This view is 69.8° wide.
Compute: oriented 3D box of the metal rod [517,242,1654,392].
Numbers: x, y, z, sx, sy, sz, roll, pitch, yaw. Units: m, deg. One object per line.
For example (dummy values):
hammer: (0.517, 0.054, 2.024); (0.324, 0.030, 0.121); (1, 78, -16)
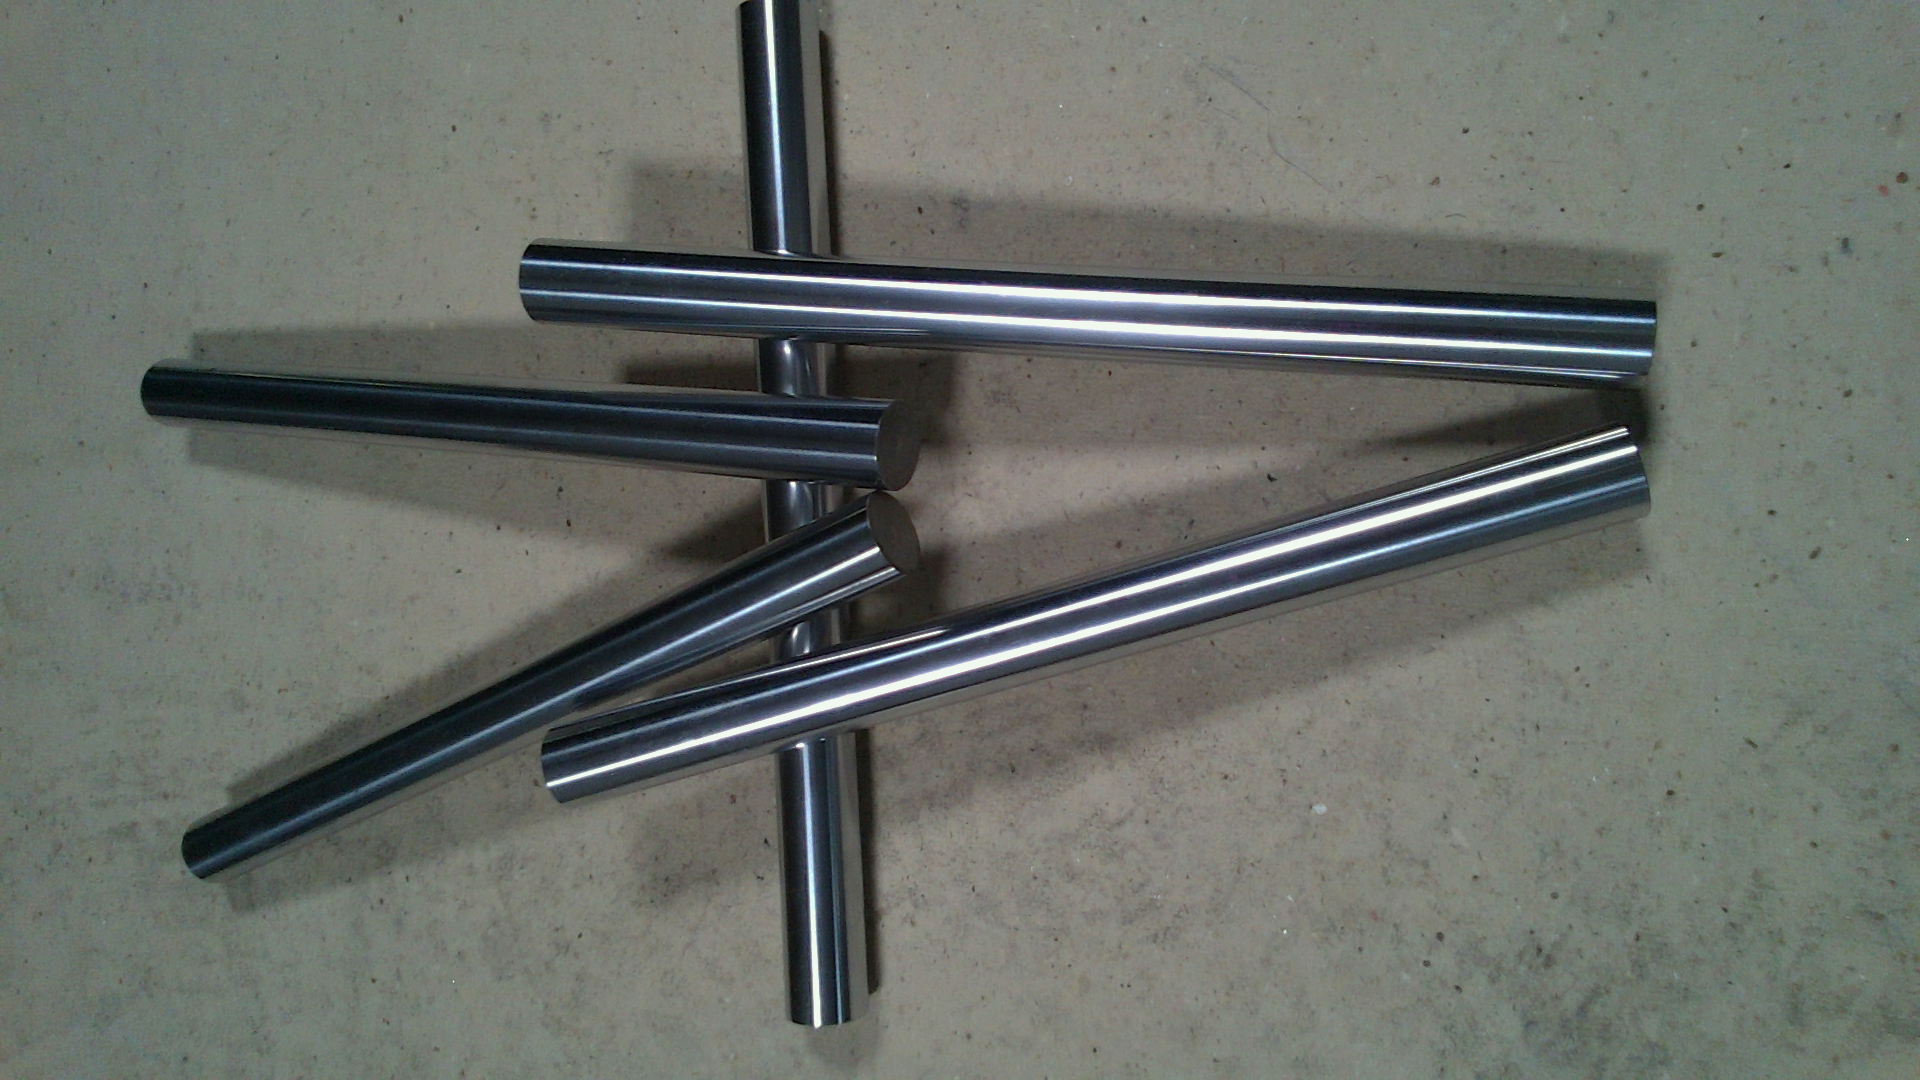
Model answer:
metal rod: (0.021, -0.062, 0.371); (0.299, 0.025, 0.025); (5, 92, 13)

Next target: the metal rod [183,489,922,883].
metal rod: (-0.142, 0.054, 0.433); (0.299, 0.025, 0.025); (-24, 82, 24)

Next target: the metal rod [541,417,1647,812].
metal rod: (0.024, 0.025, 0.370); (0.299, 0.025, 0.025); (-17, 84, 13)

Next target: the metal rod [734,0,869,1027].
metal rod: (-0.048, -0.009, 0.413); (0.025, 0.025, 0.300); (-4, 89, 20)

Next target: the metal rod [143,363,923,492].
metal rod: (-0.150, -0.039, 0.435); (0.299, 0.025, 0.025); (6, 92, 25)
